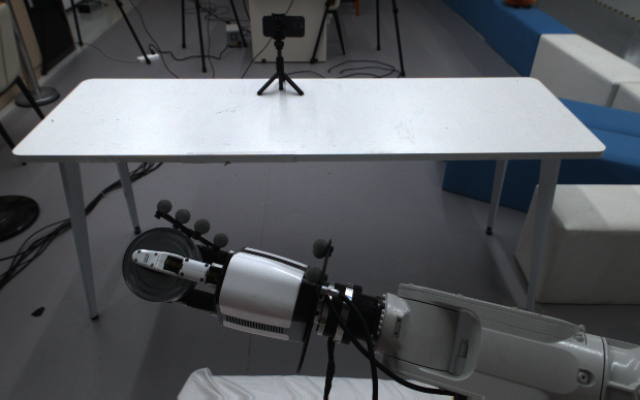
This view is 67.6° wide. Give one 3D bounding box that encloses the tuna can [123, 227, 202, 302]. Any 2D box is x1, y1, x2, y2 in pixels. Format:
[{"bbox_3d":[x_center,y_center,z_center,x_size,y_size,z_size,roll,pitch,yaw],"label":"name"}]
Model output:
[{"bbox_3d":[-0.181,0.077,0.566,0.085,0.034,0.085,1,75,-4],"label":"tuna can"}]
